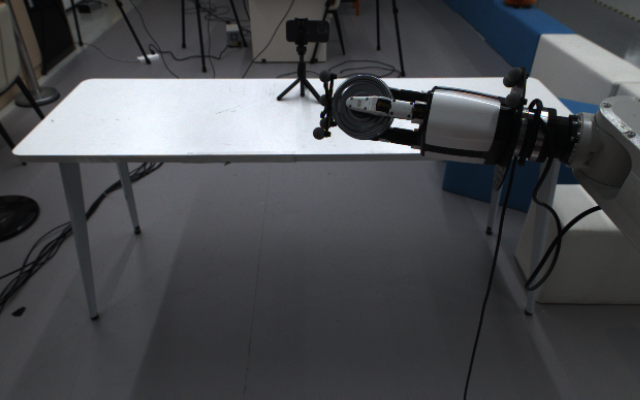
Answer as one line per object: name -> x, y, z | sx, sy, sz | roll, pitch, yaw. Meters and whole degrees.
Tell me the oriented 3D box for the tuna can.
tuna can -> 0.063, -0.124, 0.659 | 0.085, 0.085, 0.034 | 10, 2, 11
